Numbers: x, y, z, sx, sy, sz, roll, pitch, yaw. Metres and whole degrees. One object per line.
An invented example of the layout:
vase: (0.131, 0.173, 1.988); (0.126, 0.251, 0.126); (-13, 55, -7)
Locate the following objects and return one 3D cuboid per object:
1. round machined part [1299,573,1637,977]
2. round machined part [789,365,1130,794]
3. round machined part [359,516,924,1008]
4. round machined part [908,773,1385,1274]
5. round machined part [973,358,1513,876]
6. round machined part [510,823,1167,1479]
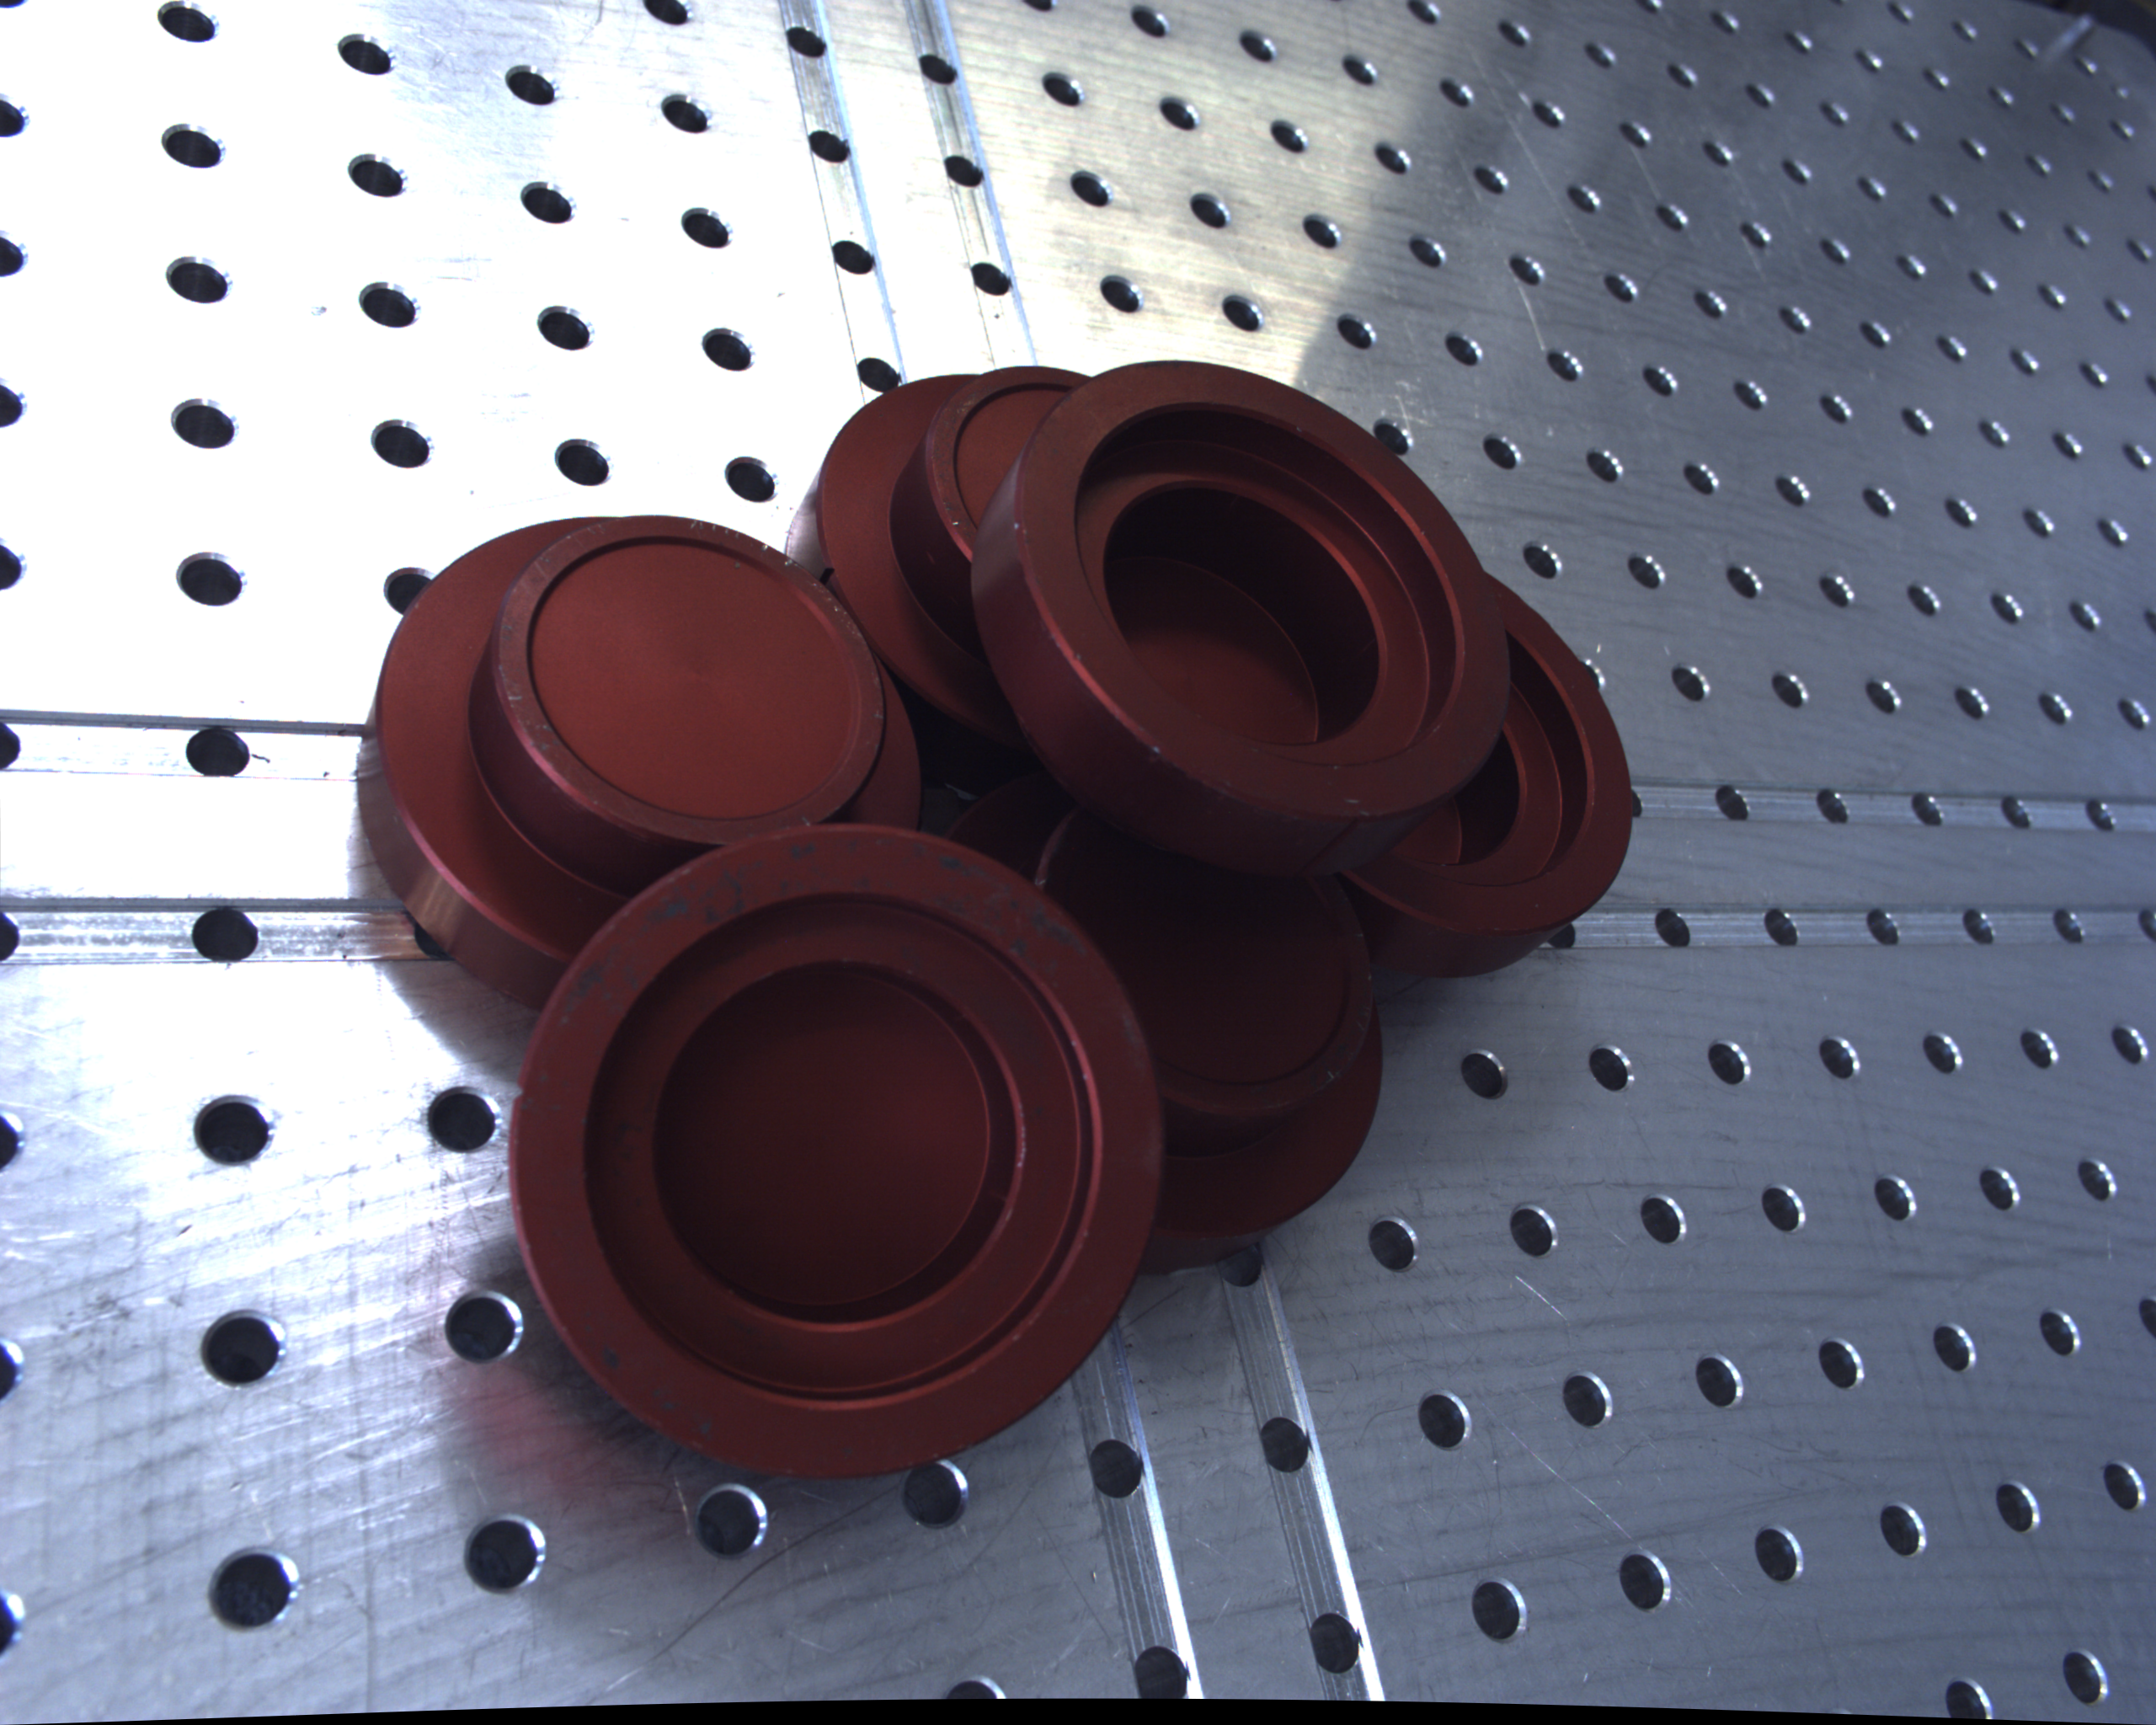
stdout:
round machined part: (0.065, -0.019, 0.443); (0.099, 0.042, 0.098); (13, 56, -21)
round machined part: (-0.007, -0.063, 0.432); (0.099, 0.042, 0.098); (13, 56, -21)
round machined part: (-0.073, -0.022, 0.371); (0.099, 0.042, 0.098); (13, 56, -21)
round machined part: (0.016, 0.023, 0.390); (0.099, 0.042, 0.098); (13, 56, -21)
round machined part: (0.026, -0.040, 0.380); (0.099, 0.042, 0.098); (13, 56, -21)
round machined part: (-0.039, 0.044, 0.332); (0.099, 0.042, 0.098); (1, 84, -14)
